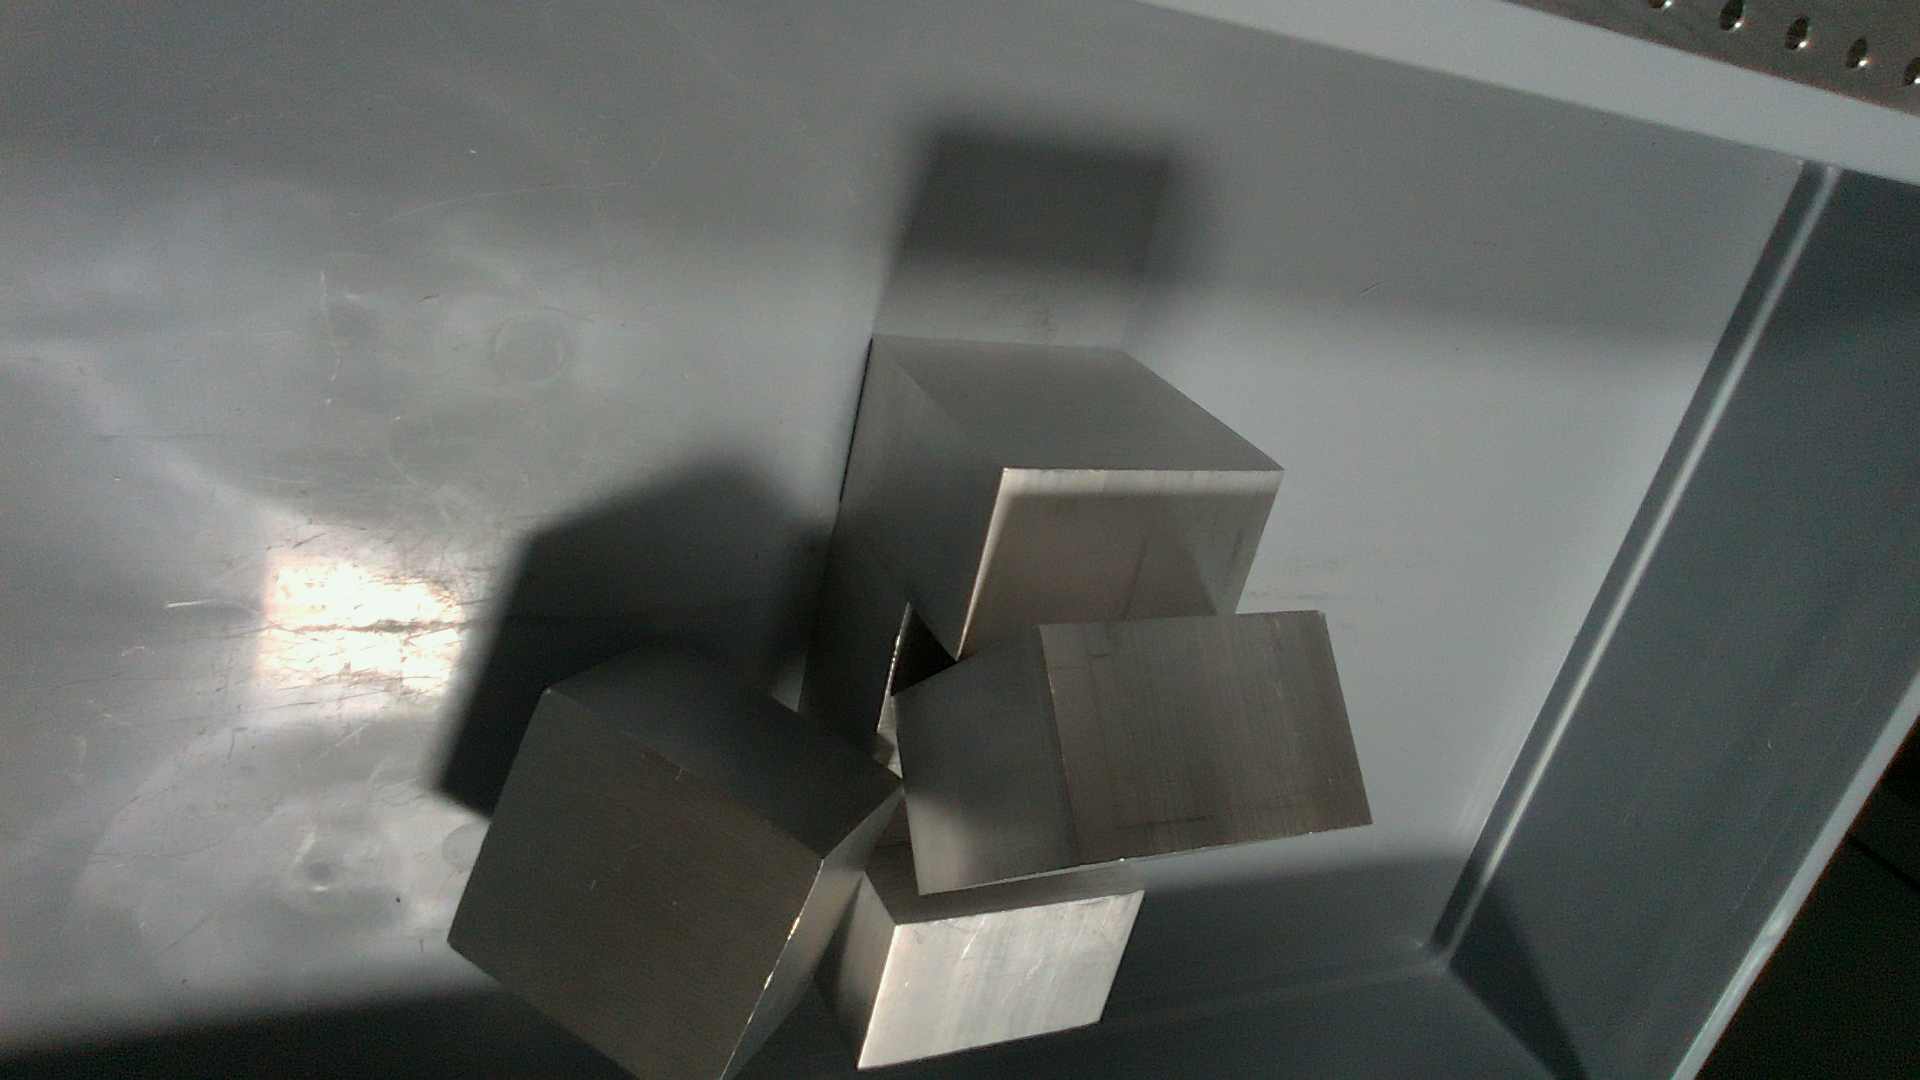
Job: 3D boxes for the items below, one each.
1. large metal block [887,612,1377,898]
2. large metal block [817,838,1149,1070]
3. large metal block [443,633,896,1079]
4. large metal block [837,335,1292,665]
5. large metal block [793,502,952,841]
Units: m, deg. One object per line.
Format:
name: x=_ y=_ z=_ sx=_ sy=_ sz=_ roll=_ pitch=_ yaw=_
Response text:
large metal block: x=0.038 y=0.053 z=0.333 sx=0.080 sy=0.080 sz=0.050 roll=-1 pitch=74 yaw=-28
large metal block: x=-0.004 y=0.103 z=0.412 sx=0.080 sy=0.080 sz=0.050 roll=0 pitch=118 yaw=-28
large metal block: x=-0.073 y=0.083 z=0.353 sx=0.080 sy=0.080 sz=0.050 roll=-64 pitch=169 yaw=18
large metal block: x=0.023 y=-0.013 z=0.356 sx=0.080 sy=0.080 sz=0.050 roll=-1 pitch=119 yaw=-28
large metal block: x=0.002 y=0.036 z=0.397 sx=0.080 sy=0.050 sz=0.080 roll=-1 pitch=119 yaw=-28
